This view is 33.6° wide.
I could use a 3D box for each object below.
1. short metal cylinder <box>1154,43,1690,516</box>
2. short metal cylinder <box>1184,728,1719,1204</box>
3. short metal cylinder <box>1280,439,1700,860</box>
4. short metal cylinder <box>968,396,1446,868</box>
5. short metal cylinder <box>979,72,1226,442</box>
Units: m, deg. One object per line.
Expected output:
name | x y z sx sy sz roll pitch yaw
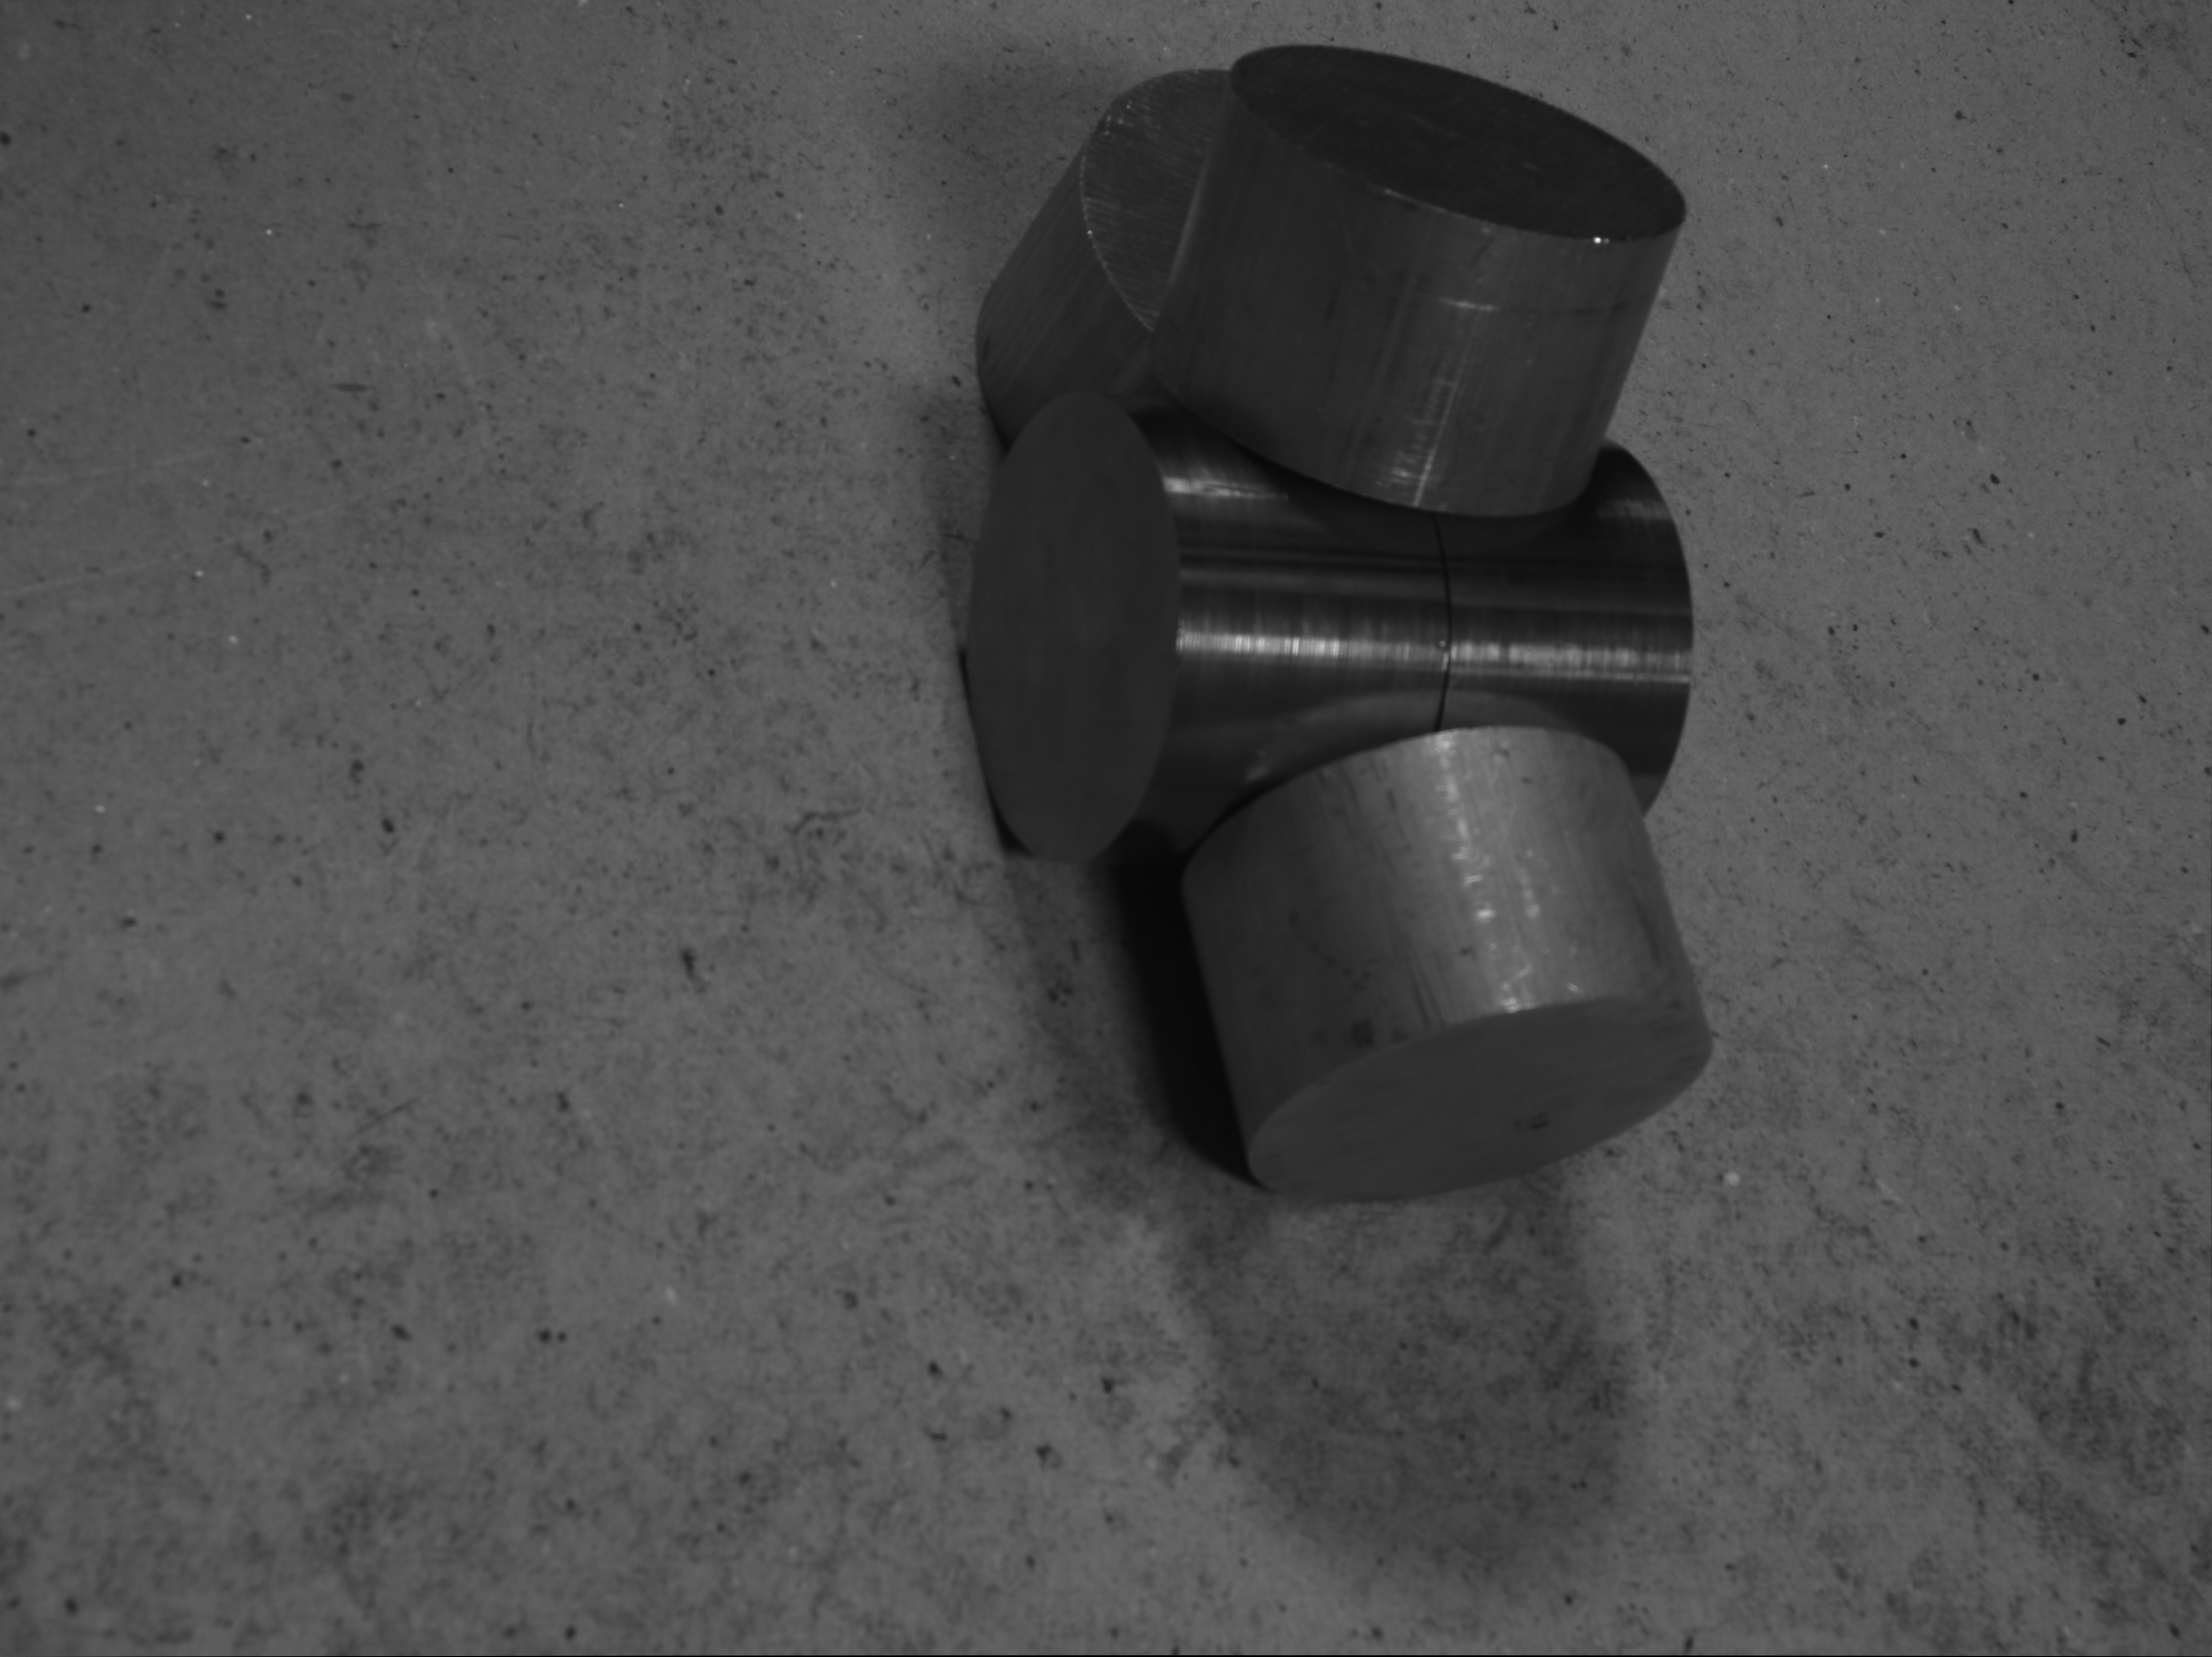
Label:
short metal cylinder | 0.053 -0.095 0.625 0.080 0.050 0.080 13 29 -7
short metal cylinder | 0.058 0.025 0.621 0.080 0.080 0.050 0 61 -28
short metal cylinder | 0.062 -0.033 0.658 0.050 0.080 0.080 0 62 -27
short metal cylinder | 0.016 -0.033 0.634 0.050 0.080 0.080 1 61 -28
short metal cylinder | 0.022 -0.096 0.696 0.080 0.050 0.080 14 56 -21
